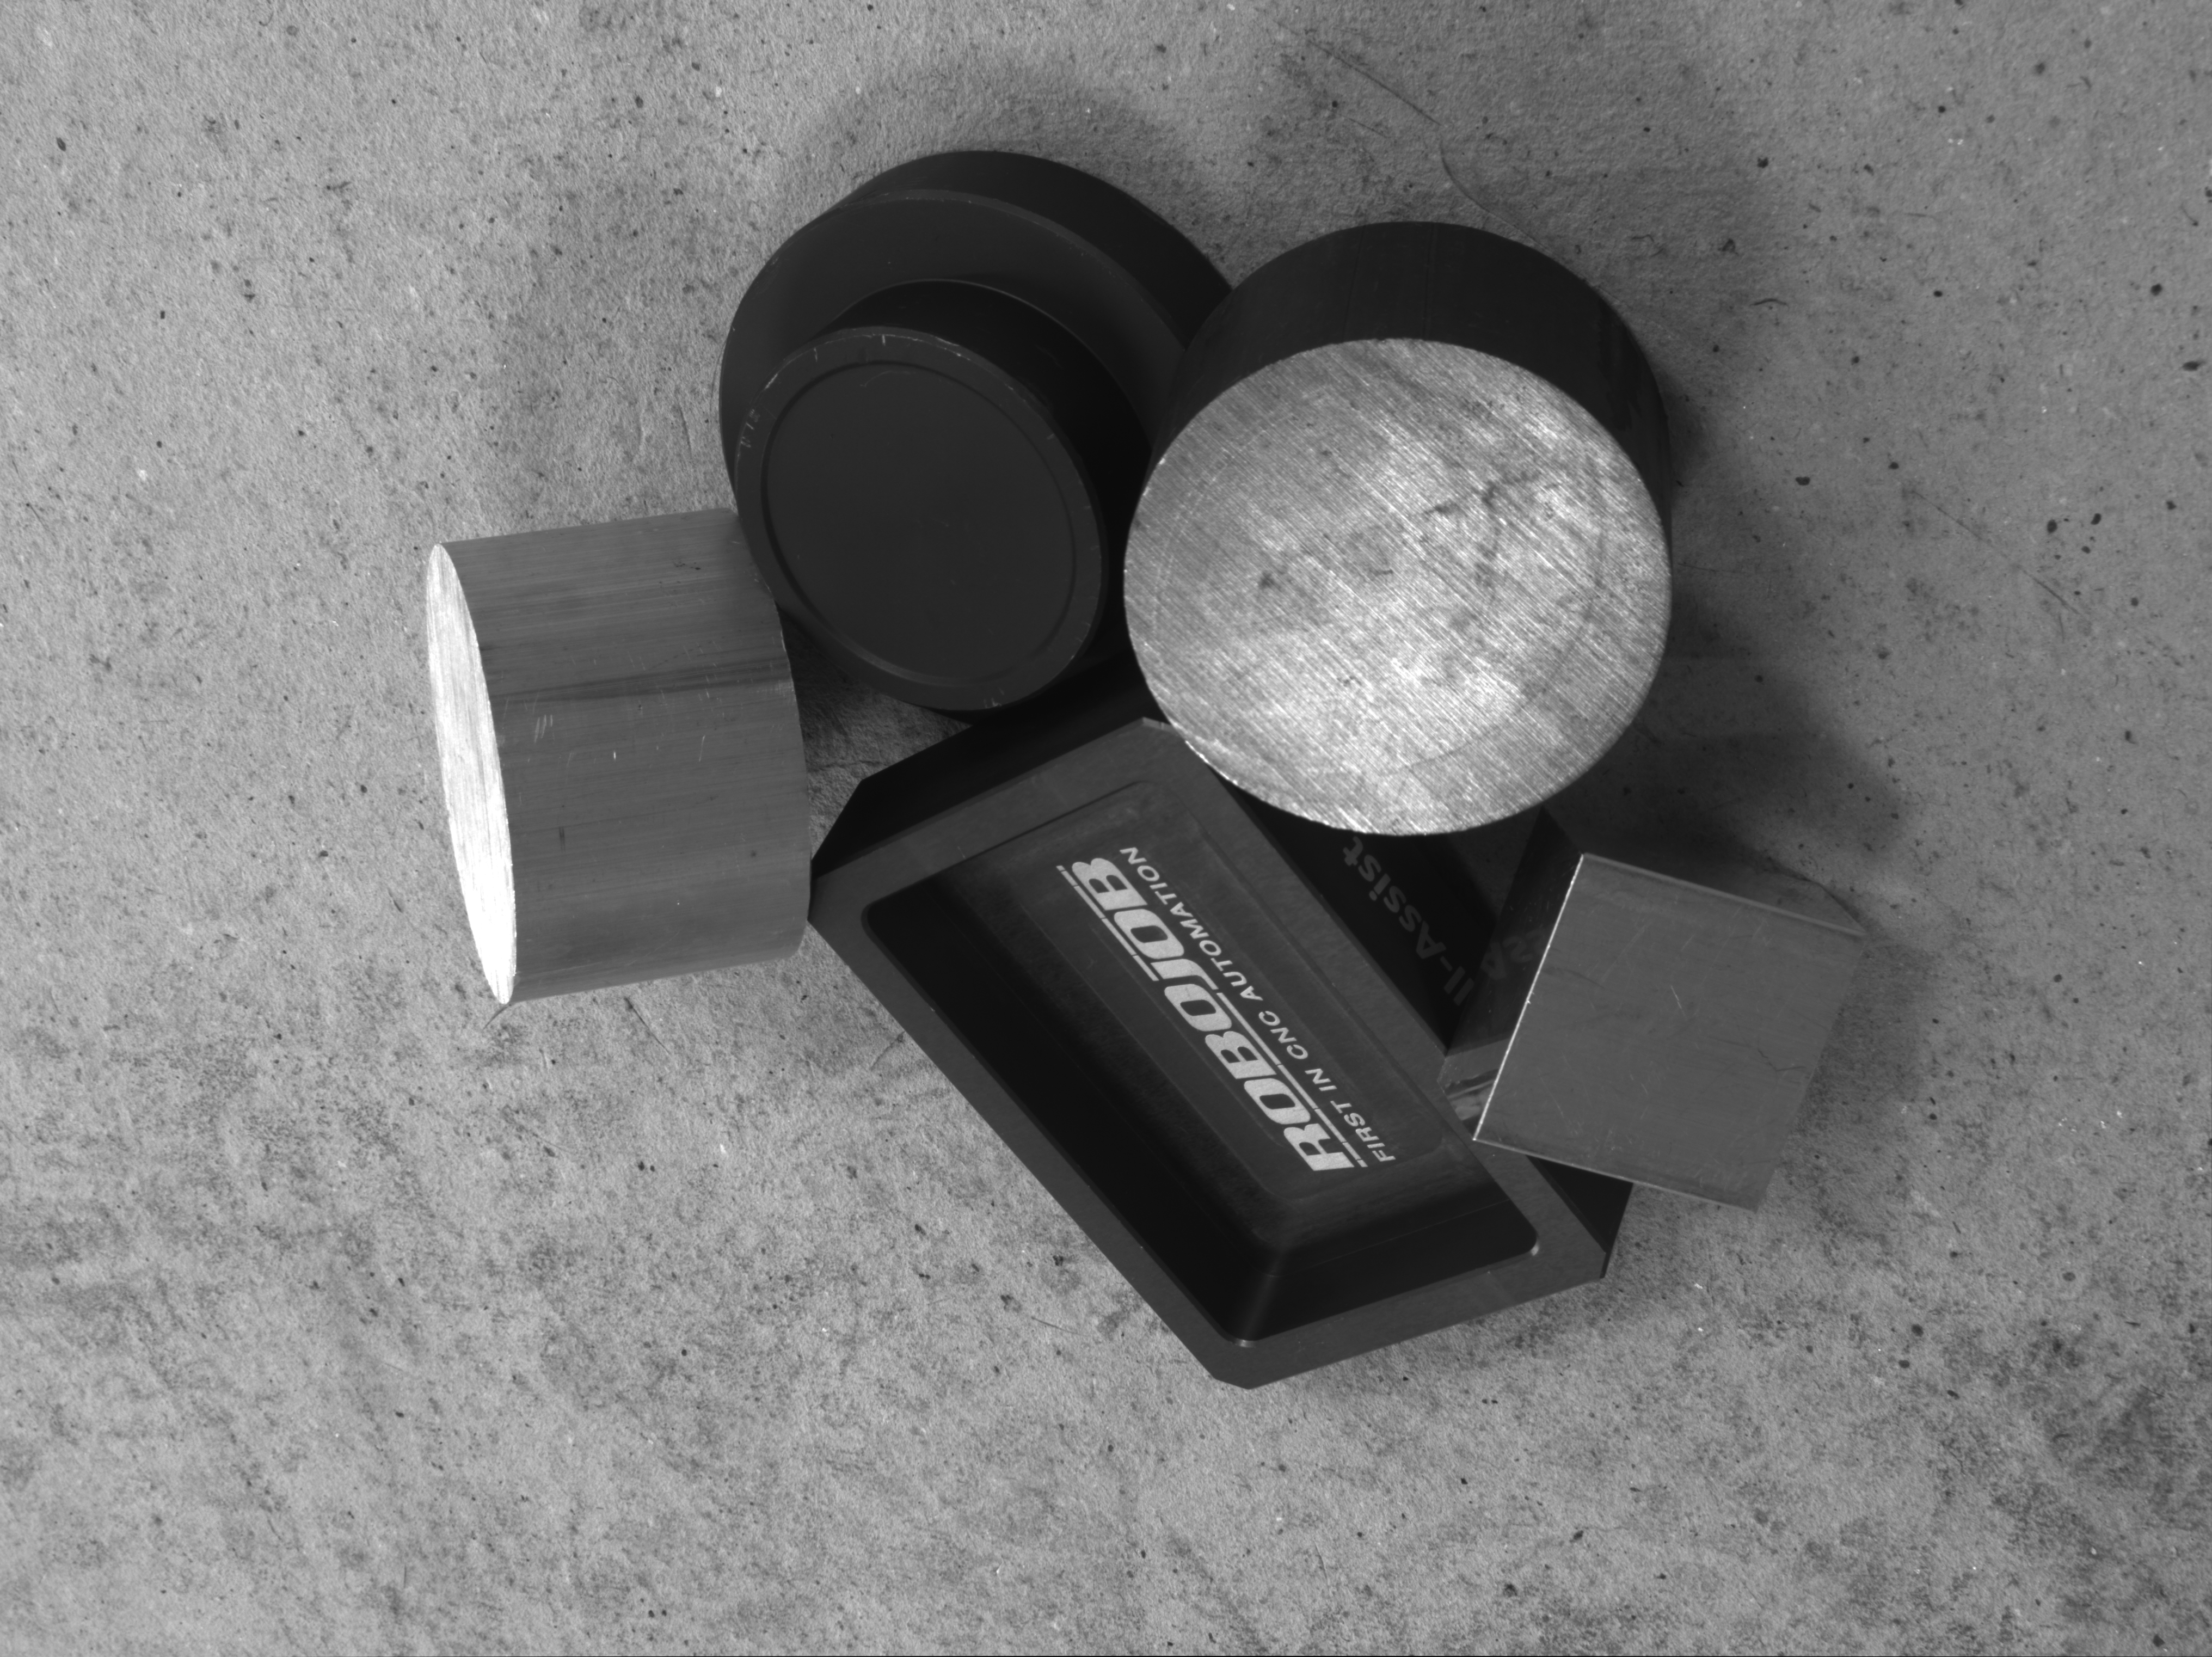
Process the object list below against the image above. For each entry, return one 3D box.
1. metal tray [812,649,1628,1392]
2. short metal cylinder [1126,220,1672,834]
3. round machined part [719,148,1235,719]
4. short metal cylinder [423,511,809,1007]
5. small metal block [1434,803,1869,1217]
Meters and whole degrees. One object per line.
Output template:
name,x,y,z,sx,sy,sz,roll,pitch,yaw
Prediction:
metal tray,0.020,0.034,0.635,0.090,0.030,0.130,-24,115,37
short metal cylinder,0.046,-0.046,0.560,0.080,0.050,0.080,3,119,6
round machined part,-0.022,-0.059,0.608,0.098,0.042,0.098,13,124,21
short metal cylinder,-0.086,-0.013,0.638,0.050,0.080,0.080,-9,124,-17
small metal block,0.087,0.029,0.591,0.050,0.025,0.050,16,105,-13
